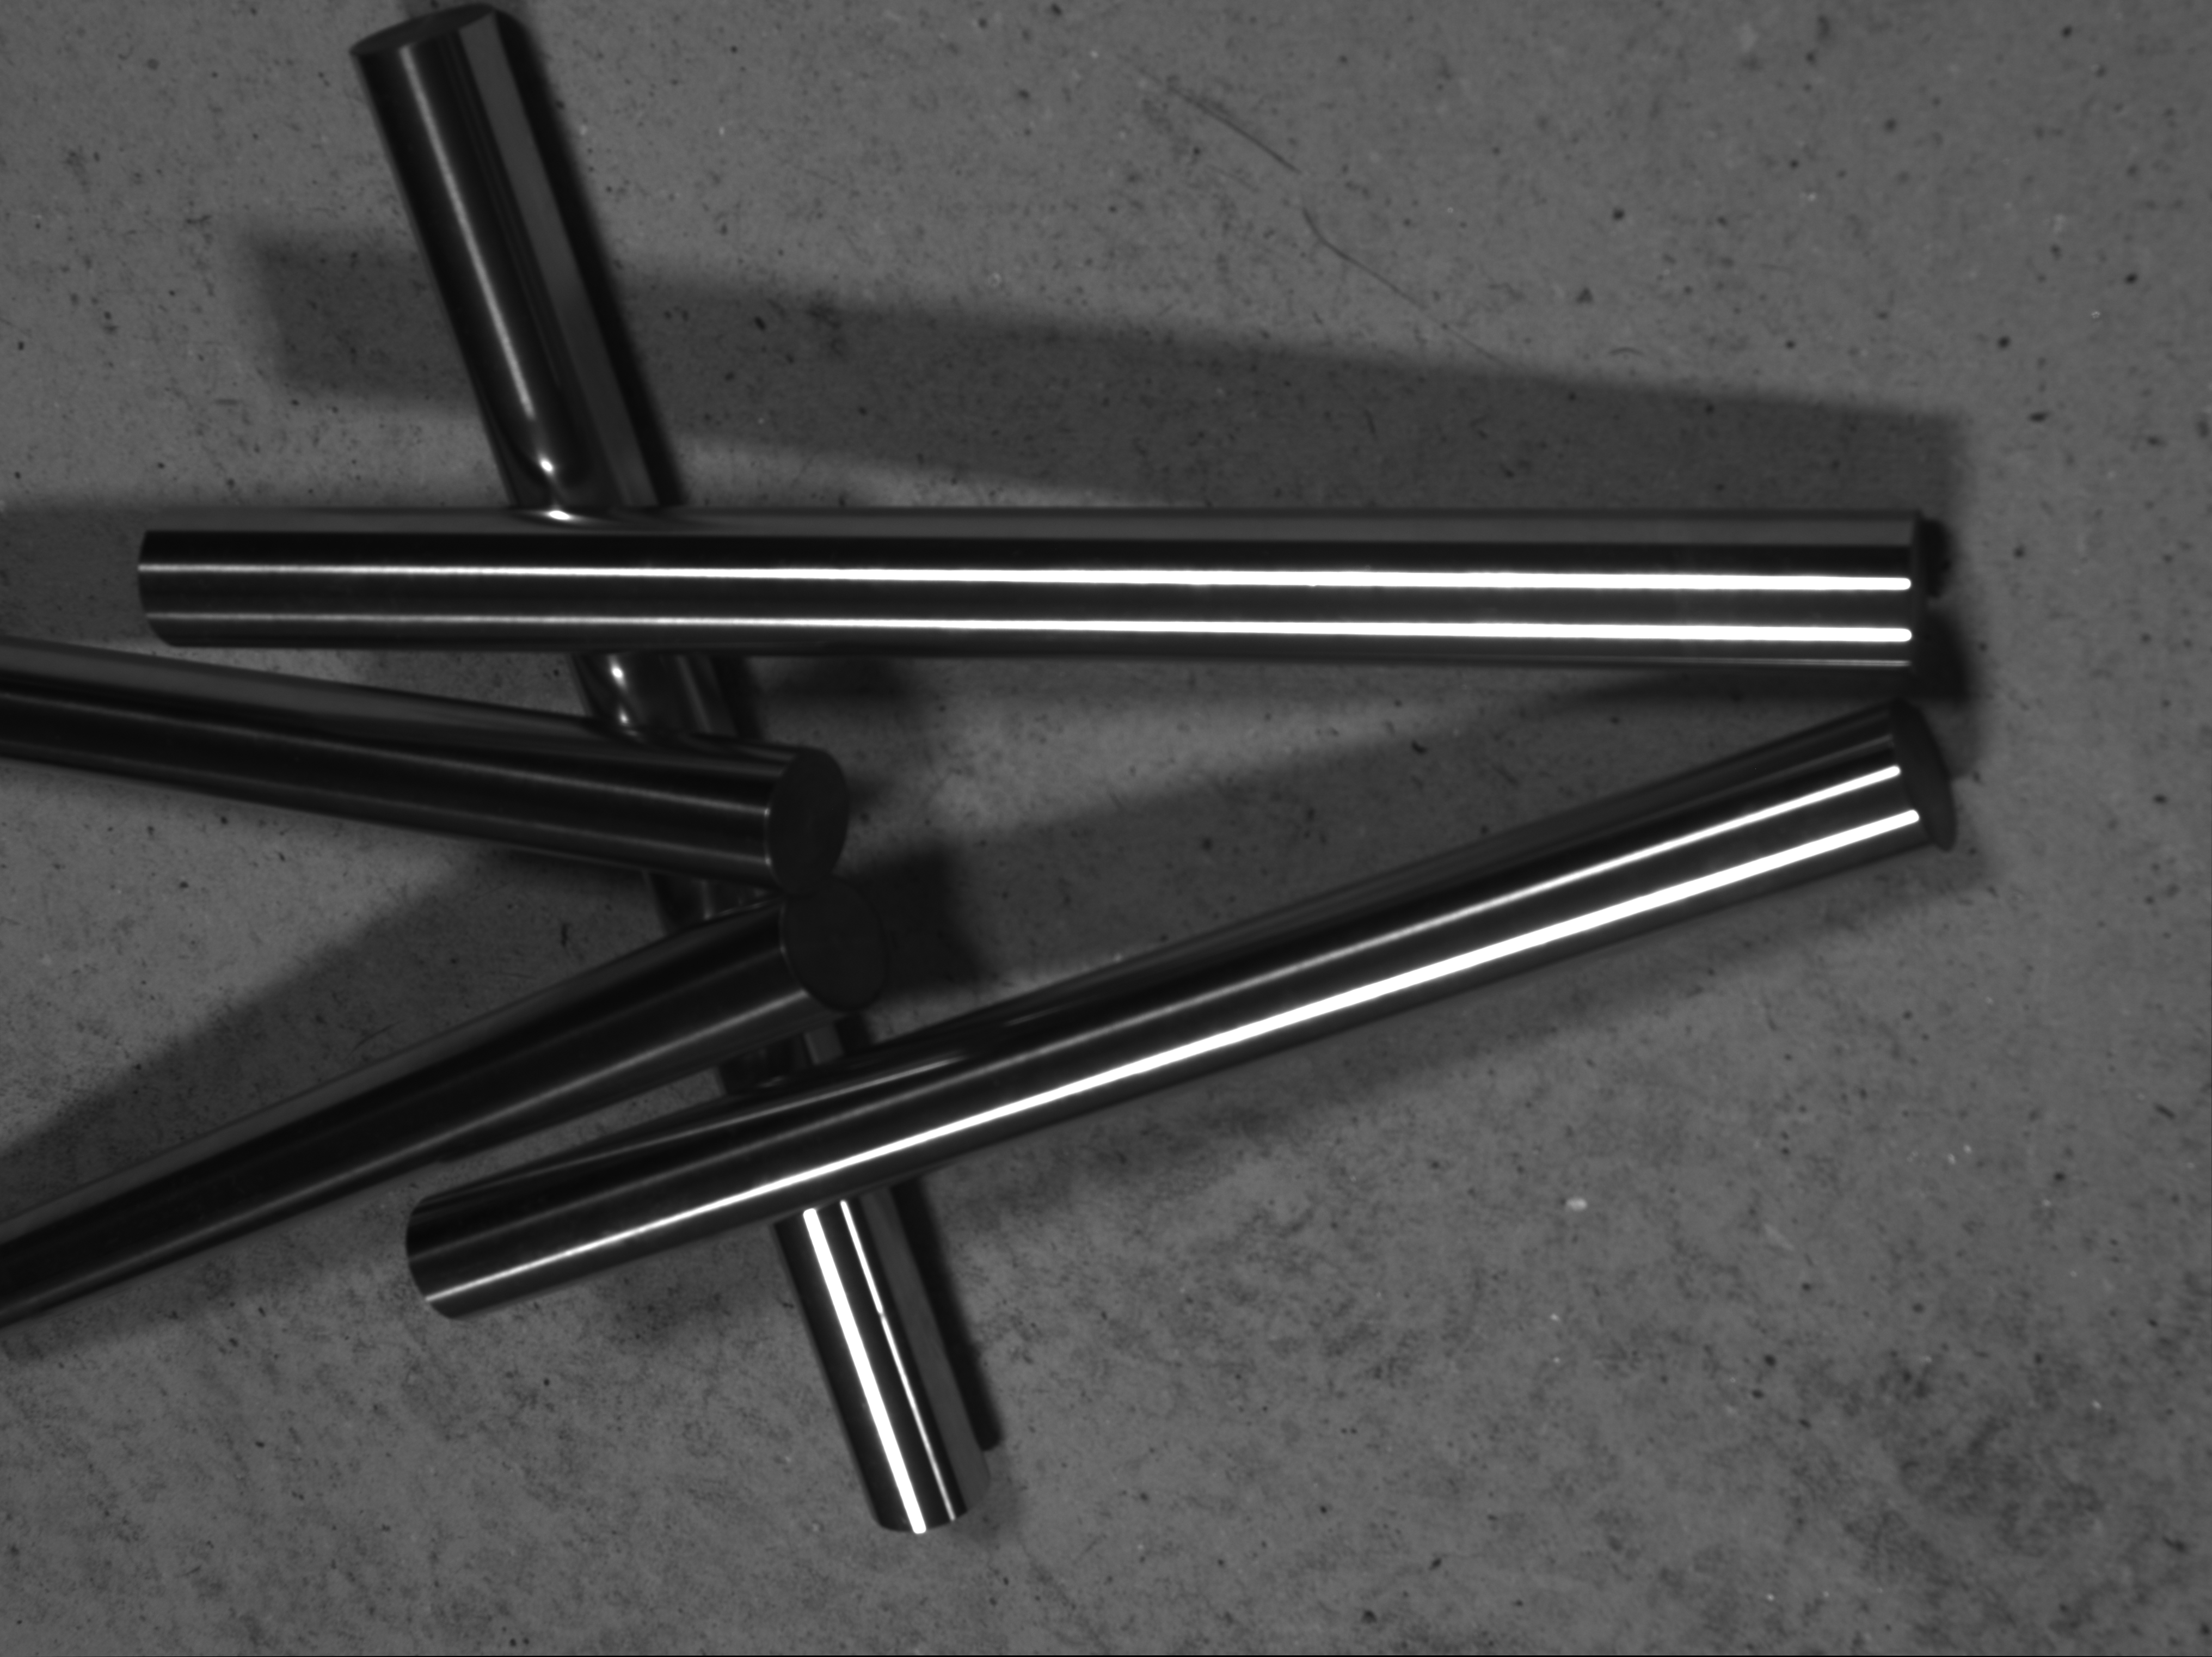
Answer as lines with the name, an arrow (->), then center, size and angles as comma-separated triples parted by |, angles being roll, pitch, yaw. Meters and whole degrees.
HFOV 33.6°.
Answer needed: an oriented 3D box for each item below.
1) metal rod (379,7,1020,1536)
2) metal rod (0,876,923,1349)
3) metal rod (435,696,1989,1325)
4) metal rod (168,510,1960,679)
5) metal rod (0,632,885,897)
metal rod -> -0.069, 0.000, 0.666 | 0.025, 0.025, 0.300 | -3, 117, 28
metal rod -> -0.146, 0.062, 0.724 | 0.299, 0.025, 0.025 | -22, 107, 40
metal rod -> 0.005, 0.037, 0.631 | 0.299, 0.025, 0.025 | -20, 108, 27
metal rod -> -0.016, -0.039, 0.595 | 0.299, 0.025, 0.025 | 2, 119, 19
metal rod -> -0.174, -0.020, 0.688 | 0.299, 0.025, 0.025 | 8, 122, 29
